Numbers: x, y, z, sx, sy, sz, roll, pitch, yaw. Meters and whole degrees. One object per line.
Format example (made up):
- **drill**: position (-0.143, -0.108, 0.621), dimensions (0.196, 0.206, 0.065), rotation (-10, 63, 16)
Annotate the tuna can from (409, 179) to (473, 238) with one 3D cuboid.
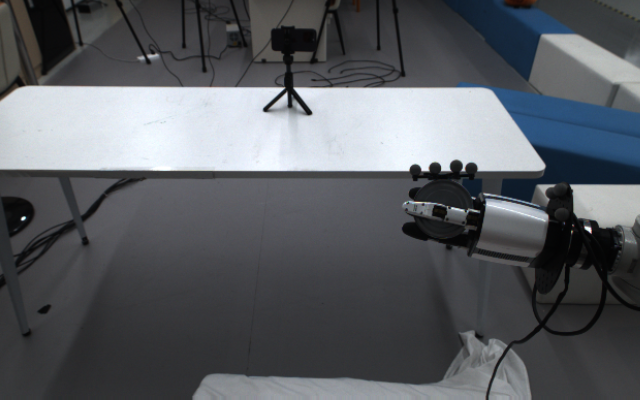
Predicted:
- **tuna can**: position (0.180, 0.012, 0.708), dimensions (0.085, 0.085, 0.034), rotation (16, 1, 19)
